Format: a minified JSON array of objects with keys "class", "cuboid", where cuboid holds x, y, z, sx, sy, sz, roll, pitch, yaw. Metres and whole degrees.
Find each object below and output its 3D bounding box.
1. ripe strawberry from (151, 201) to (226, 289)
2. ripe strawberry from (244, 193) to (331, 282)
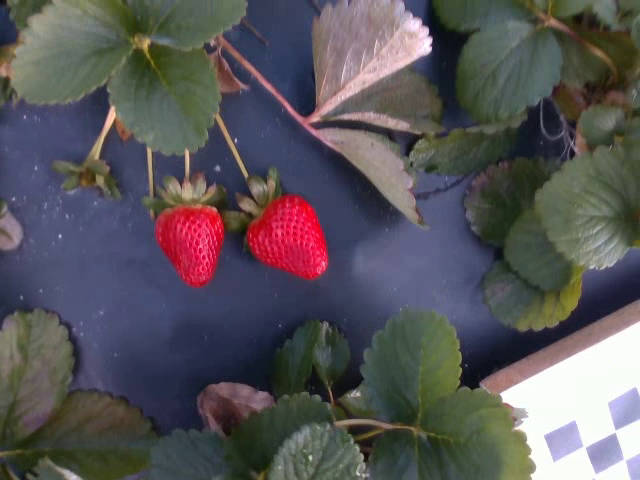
[{"class":"ripe strawberry","cuboid":[-0.080,0.003,0.360,0.048,0.056,0.041,-11,-10,-8]},{"class":"ripe strawberry","cuboid":[-0.018,0.001,0.365,0.064,0.058,0.051,45,-1,17]}]
